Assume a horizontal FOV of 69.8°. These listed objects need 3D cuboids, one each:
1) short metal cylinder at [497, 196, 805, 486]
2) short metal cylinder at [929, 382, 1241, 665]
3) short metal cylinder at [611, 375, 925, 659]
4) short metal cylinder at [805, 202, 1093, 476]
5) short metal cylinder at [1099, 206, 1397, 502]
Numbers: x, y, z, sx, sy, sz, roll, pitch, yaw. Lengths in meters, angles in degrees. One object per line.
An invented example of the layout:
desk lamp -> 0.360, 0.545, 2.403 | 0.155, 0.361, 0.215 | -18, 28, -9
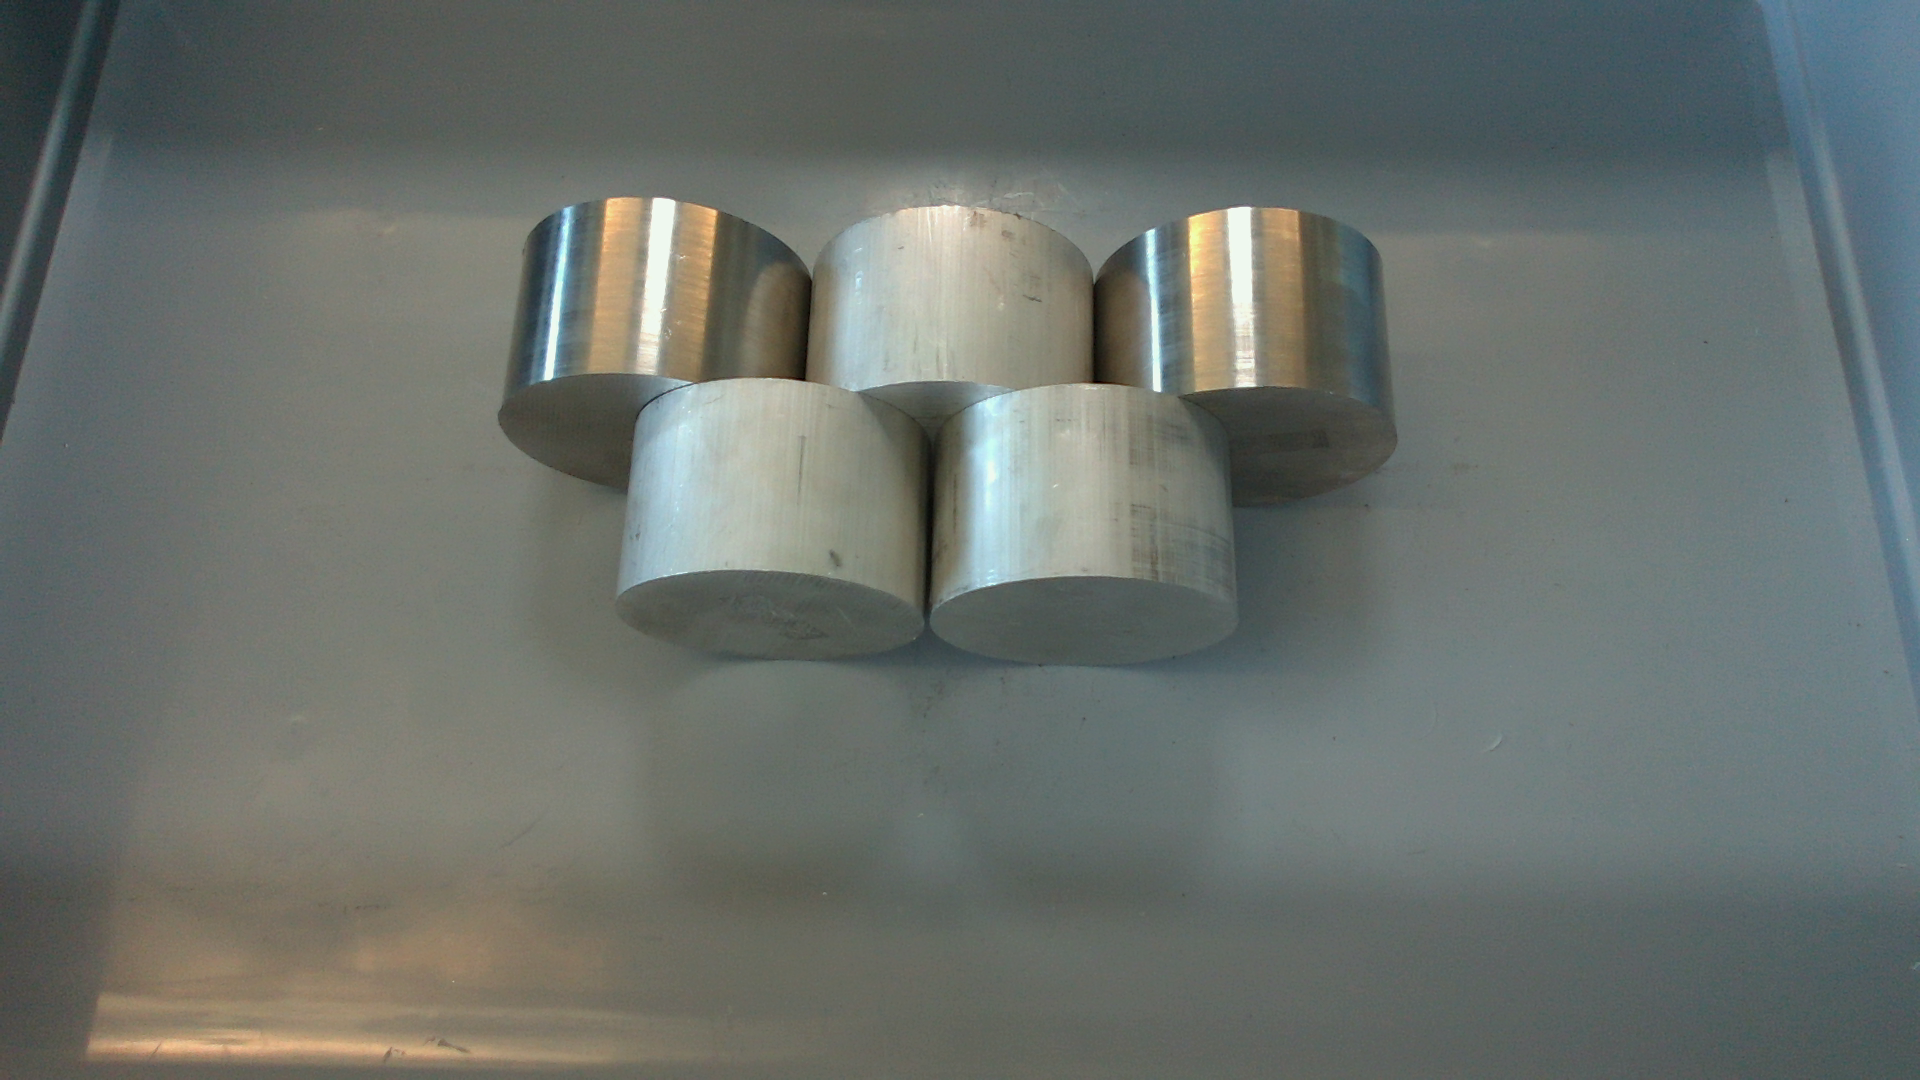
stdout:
short metal cylinder -> -0.083, -0.051, 0.382 | 0.080, 0.080, 0.050 | 1, 70, 0
short metal cylinder -> 0.032, -0.001, 0.365 | 0.080, 0.080, 0.050 | 1, 70, 0
short metal cylinder -> -0.049, -0.003, 0.365 | 0.080, 0.080, 0.050 | 1, 70, 0
short metal cylinder -> -0.003, -0.050, 0.382 | 0.080, 0.080, 0.050 | 1, 70, 0
short metal cylinder -> 0.078, -0.048, 0.382 | 0.080, 0.080, 0.050 | 2, 70, 1
